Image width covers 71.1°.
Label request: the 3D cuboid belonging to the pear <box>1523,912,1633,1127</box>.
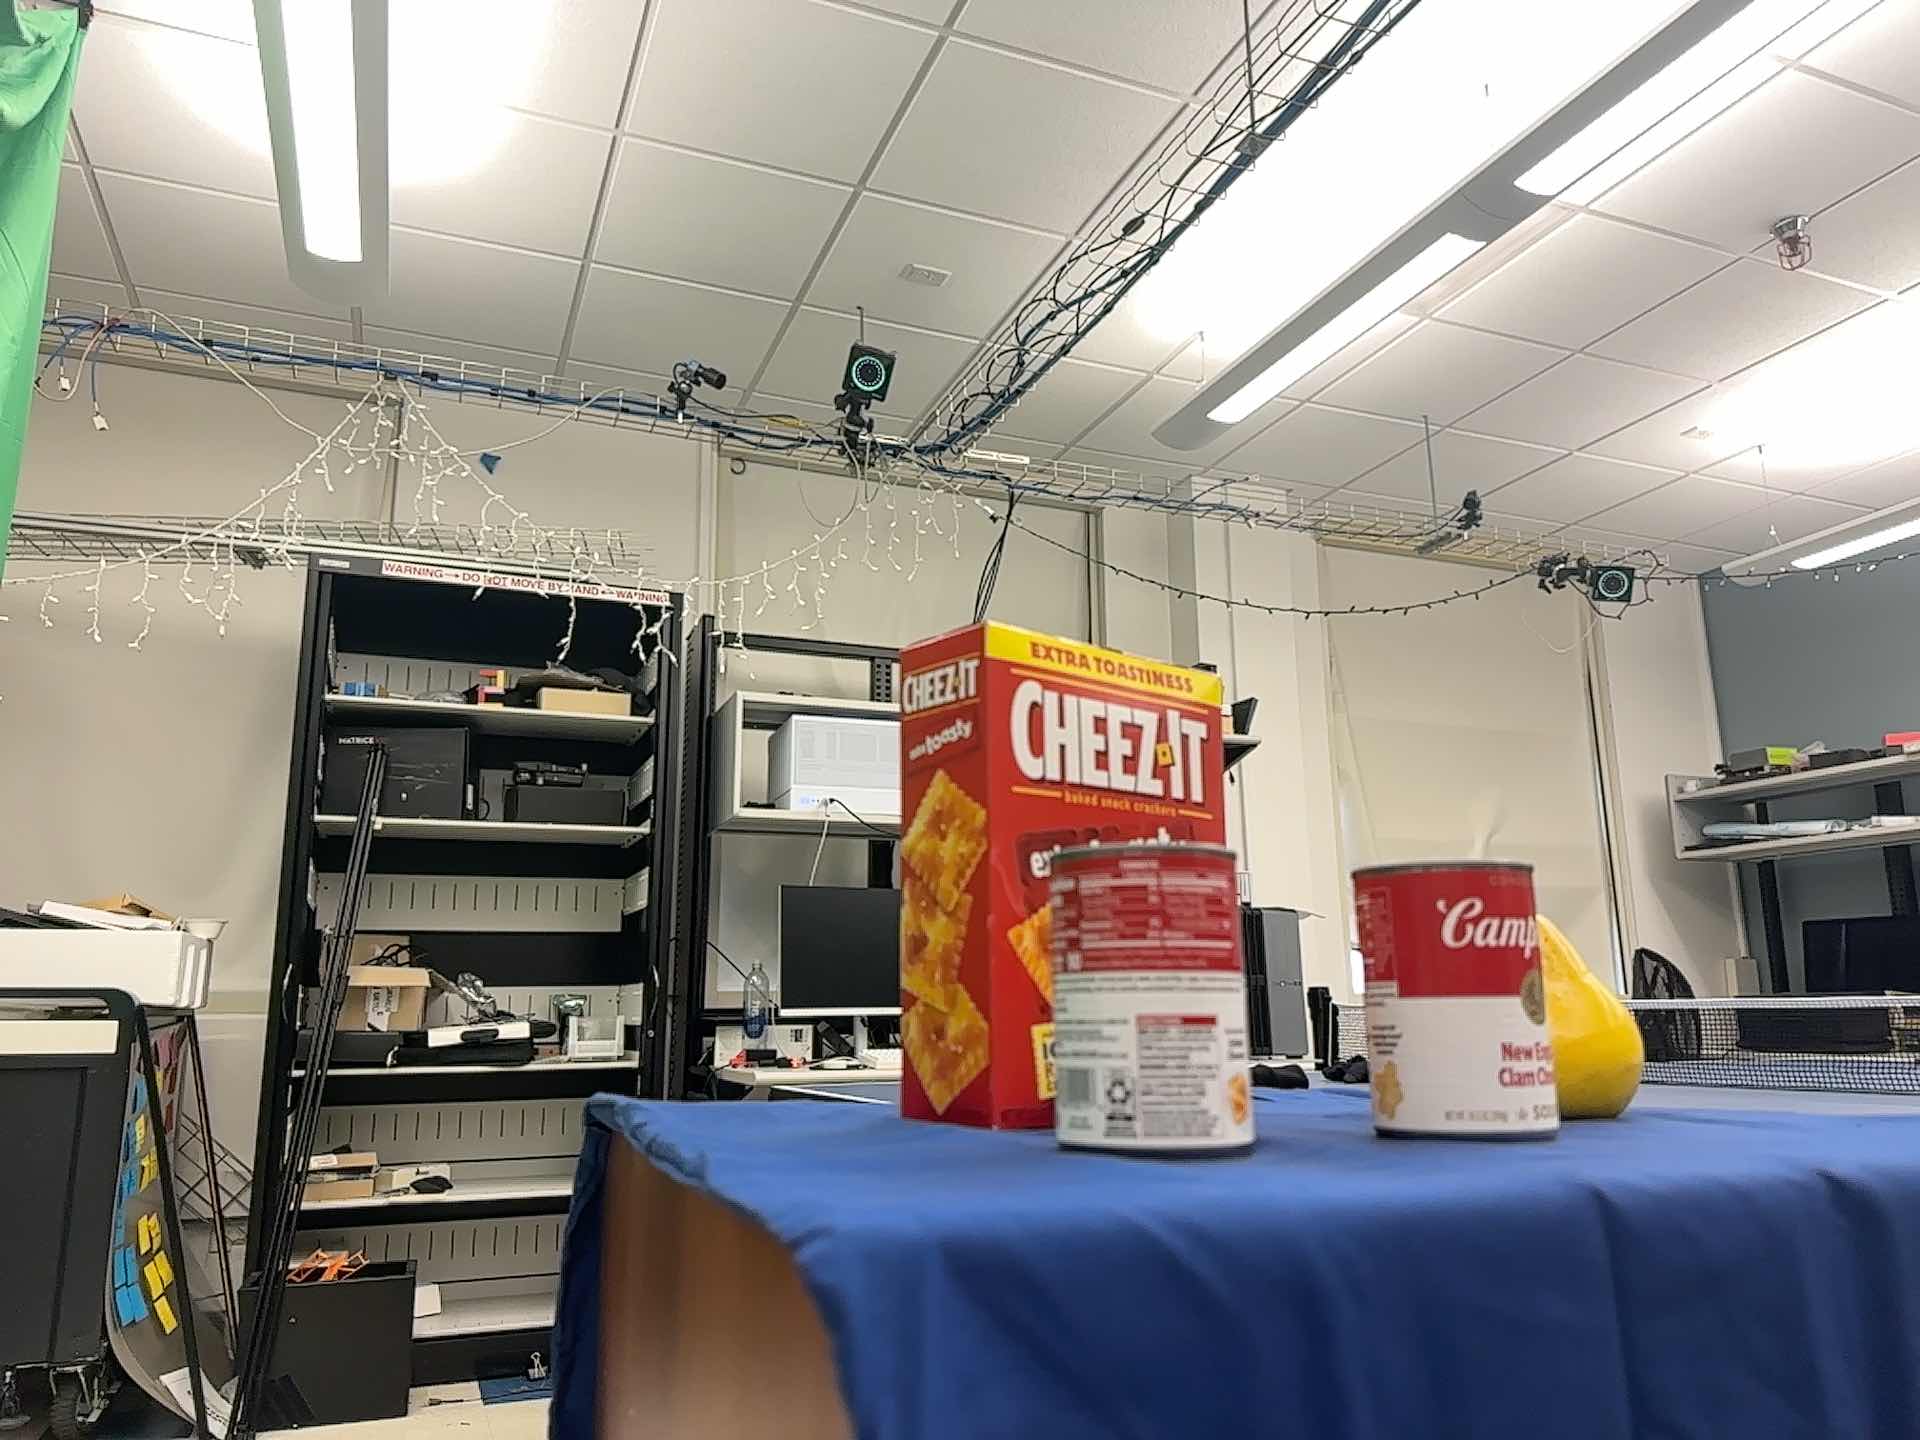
[{"bbox_3d":[0.259,0.126,0.611,0.080,0.111,0.080,2,-12,0],"label":"pear"}]

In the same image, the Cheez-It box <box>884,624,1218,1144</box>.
[{"bbox_3d":[0.047,0.078,0.634,0.159,0.214,0.062,9,-15,-39],"label":"Cheez-It box"}]

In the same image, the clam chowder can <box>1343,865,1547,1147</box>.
[{"bbox_3d":[0.188,0.110,0.525,0.068,0.102,0.068,-1,-12,0],"label":"clam chowder can"}]

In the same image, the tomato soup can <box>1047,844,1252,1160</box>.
[{"bbox_3d":[0.066,0.098,0.469,0.067,0.102,0.067,-1,-13,0],"label":"tomato soup can"}]
